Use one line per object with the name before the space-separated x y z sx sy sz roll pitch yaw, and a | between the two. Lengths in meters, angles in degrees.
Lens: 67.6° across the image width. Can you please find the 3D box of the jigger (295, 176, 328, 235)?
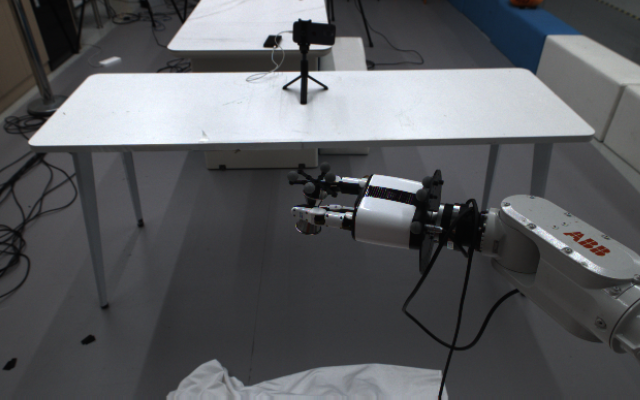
jigger | -0.014 0.016 0.781 0.043 0.071 0.043 9 30 -5
